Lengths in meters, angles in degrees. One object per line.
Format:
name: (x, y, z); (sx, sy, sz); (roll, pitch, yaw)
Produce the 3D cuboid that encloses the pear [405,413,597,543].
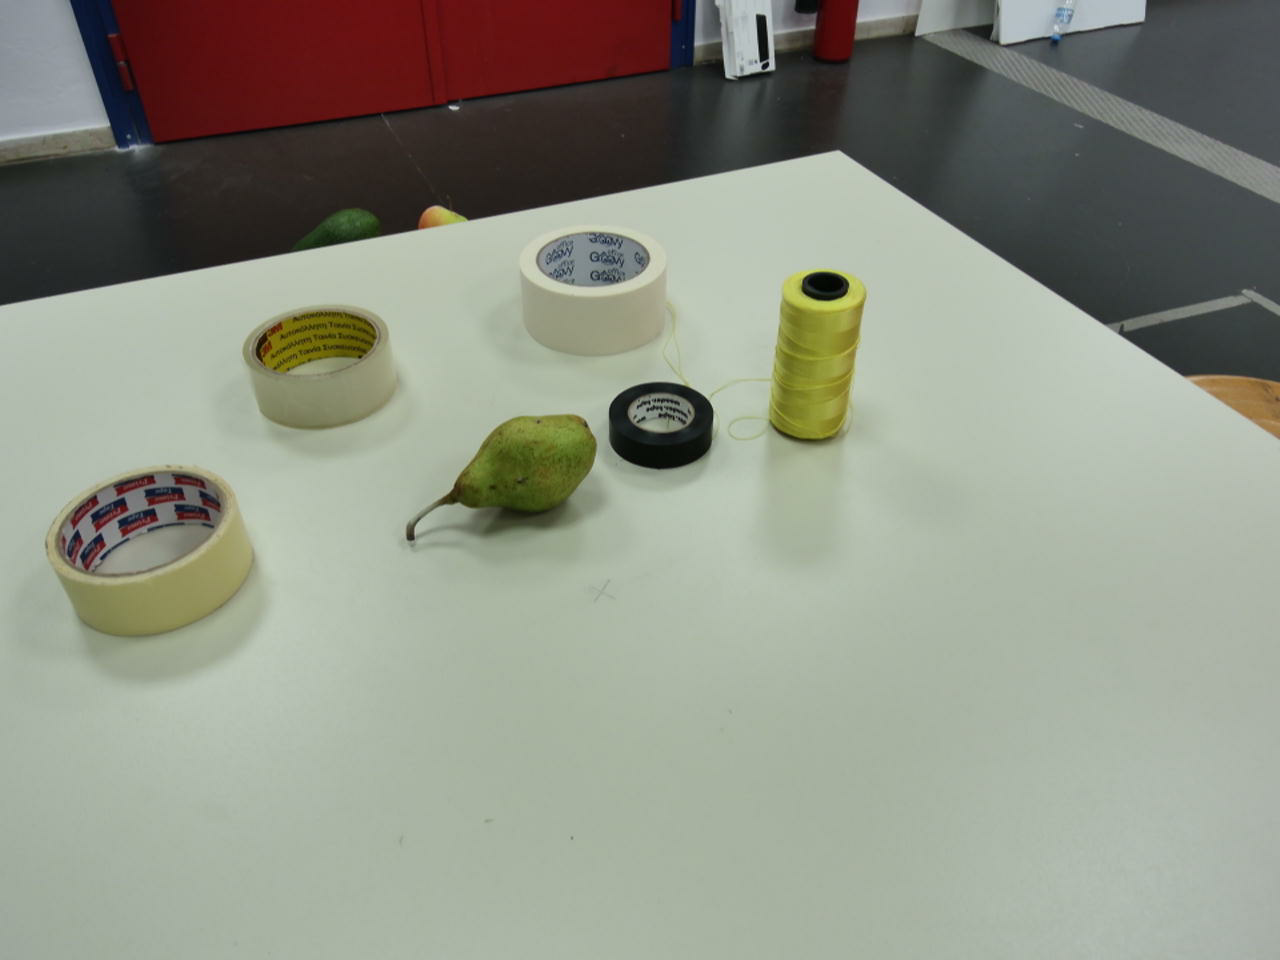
pear: (-0.079, -0.008, 0.564); (0.111, 0.056, 0.056); (-6, 39, -8)
